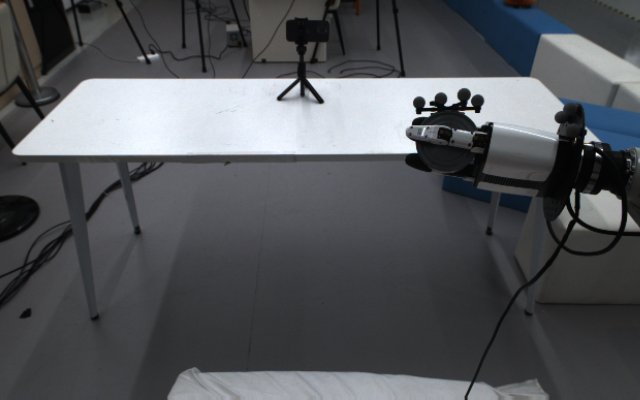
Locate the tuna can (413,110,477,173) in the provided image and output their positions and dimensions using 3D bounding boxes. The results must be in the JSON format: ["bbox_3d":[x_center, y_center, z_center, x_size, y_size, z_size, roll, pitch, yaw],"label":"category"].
[{"bbox_3d":[0.179,-0.082,0.685,0.085,0.085,0.034,12,0,15],"label":"tuna can"}]
